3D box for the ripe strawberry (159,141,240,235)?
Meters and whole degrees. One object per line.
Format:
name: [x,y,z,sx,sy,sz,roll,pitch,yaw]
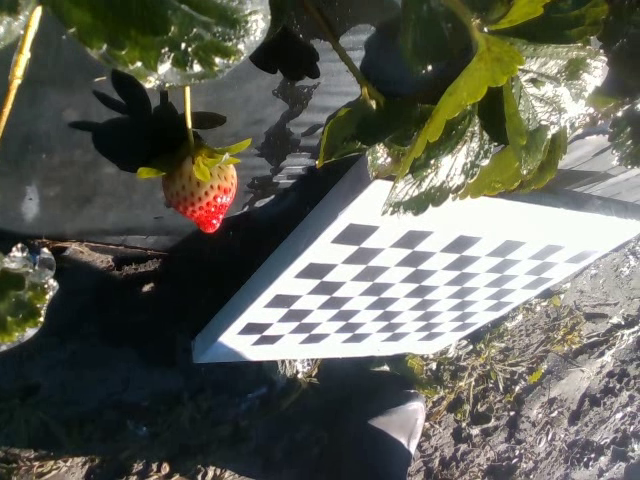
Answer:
ripe strawberry: [-0.054,-0.023,0.289,0.039,0.053,0.041,-7,45,-15]
